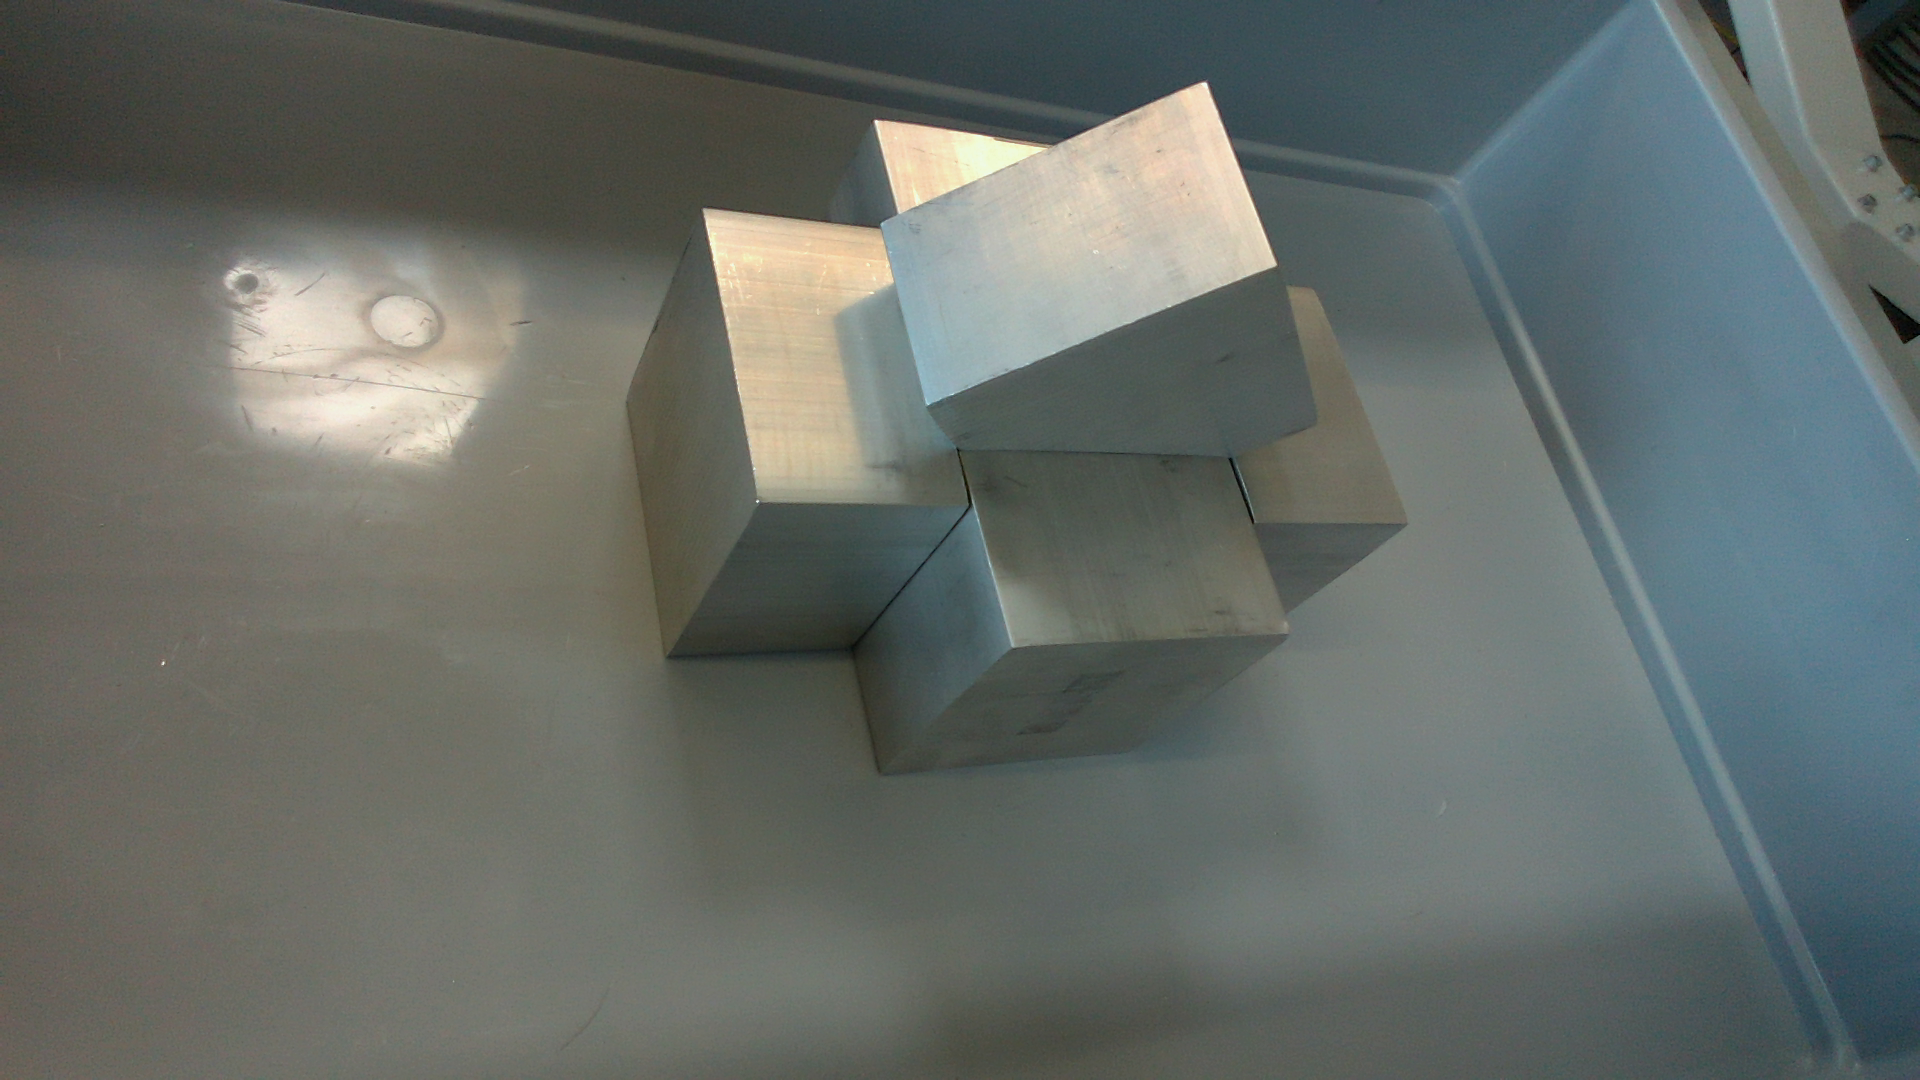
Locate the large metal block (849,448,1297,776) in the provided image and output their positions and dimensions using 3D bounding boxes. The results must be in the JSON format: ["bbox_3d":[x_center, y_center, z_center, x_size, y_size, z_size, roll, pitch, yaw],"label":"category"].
[{"bbox_3d":[0.024,0.020,0.354,0.080,0.080,0.050,0,62,-28],"label":"large metal block"}]

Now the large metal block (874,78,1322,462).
[{"bbox_3d":[0.036,-0.051,0.331,0.080,0.080,0.050,46,27,-62],"label":"large metal block"}]

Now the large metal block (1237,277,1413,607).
[{"bbox_3d":[0.074,-0.022,0.404,0.050,0.080,0.080,0,61,-29],"label":"large metal block"}]

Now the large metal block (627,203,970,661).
[{"bbox_3d":[-0.045,-0.024,0.344,0.050,0.080,0.080,0,62,-28],"label":"large metal block"}]

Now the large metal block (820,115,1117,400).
[{"bbox_3d":[0.001,-0.069,0.396,0.080,0.080,0.050,0,62,-28],"label":"large metal block"}]
